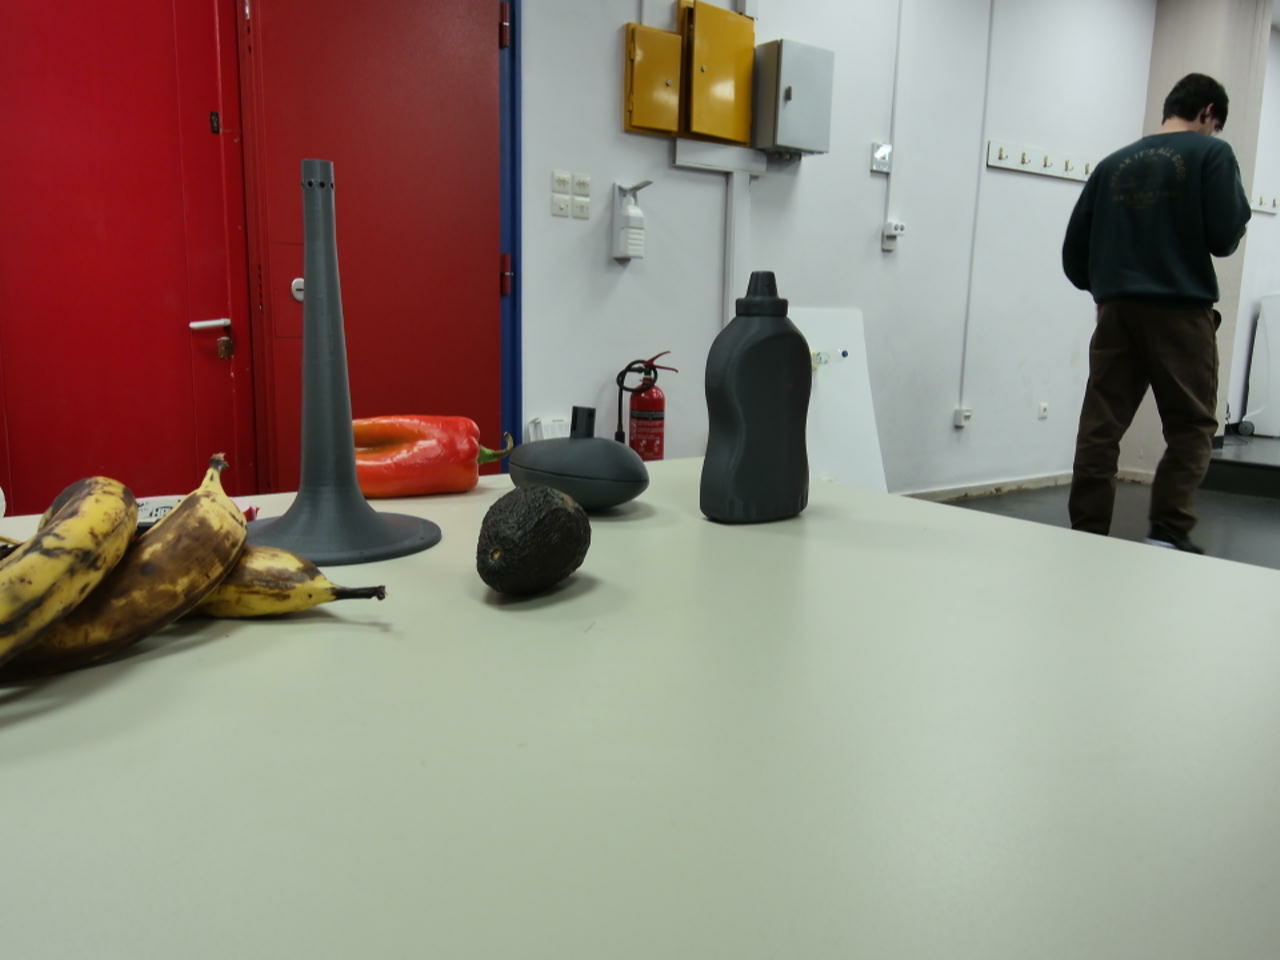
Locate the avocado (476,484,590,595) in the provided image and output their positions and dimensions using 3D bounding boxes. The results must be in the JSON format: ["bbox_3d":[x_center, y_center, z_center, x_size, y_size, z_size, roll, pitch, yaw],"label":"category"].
[{"bbox_3d":[-0.066,0.034,0.593,0.062,0.062,0.092,5,9,30],"label":"avocado"}]
